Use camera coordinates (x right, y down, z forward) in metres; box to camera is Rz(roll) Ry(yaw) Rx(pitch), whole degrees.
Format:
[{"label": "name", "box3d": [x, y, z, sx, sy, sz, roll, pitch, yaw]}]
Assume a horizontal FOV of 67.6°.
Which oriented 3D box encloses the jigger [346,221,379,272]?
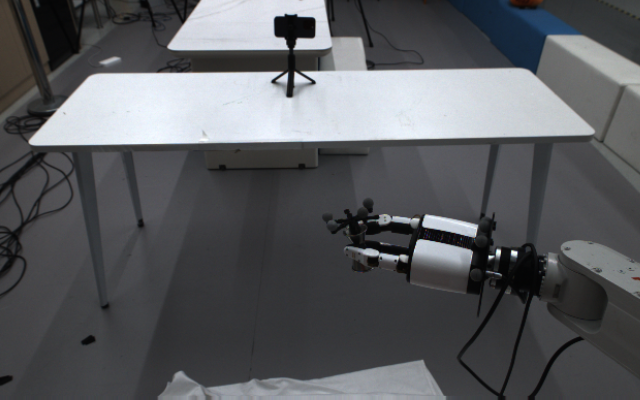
[{"label": "jigger", "box3d": [0.065, 0.077, 0.780, 0.043, 0.071, 0.043, -14, 21, 6]}]
